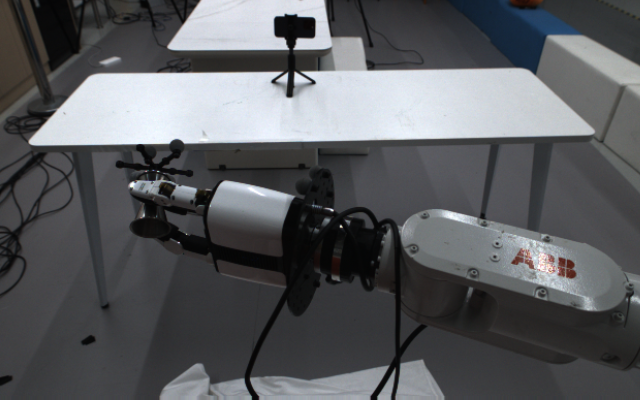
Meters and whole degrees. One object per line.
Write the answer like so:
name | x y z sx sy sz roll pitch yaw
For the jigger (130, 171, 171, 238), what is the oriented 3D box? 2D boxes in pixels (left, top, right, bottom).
jigger | -0.193 0.005 0.561 0.043 0.043 0.071 -4 57 -9
